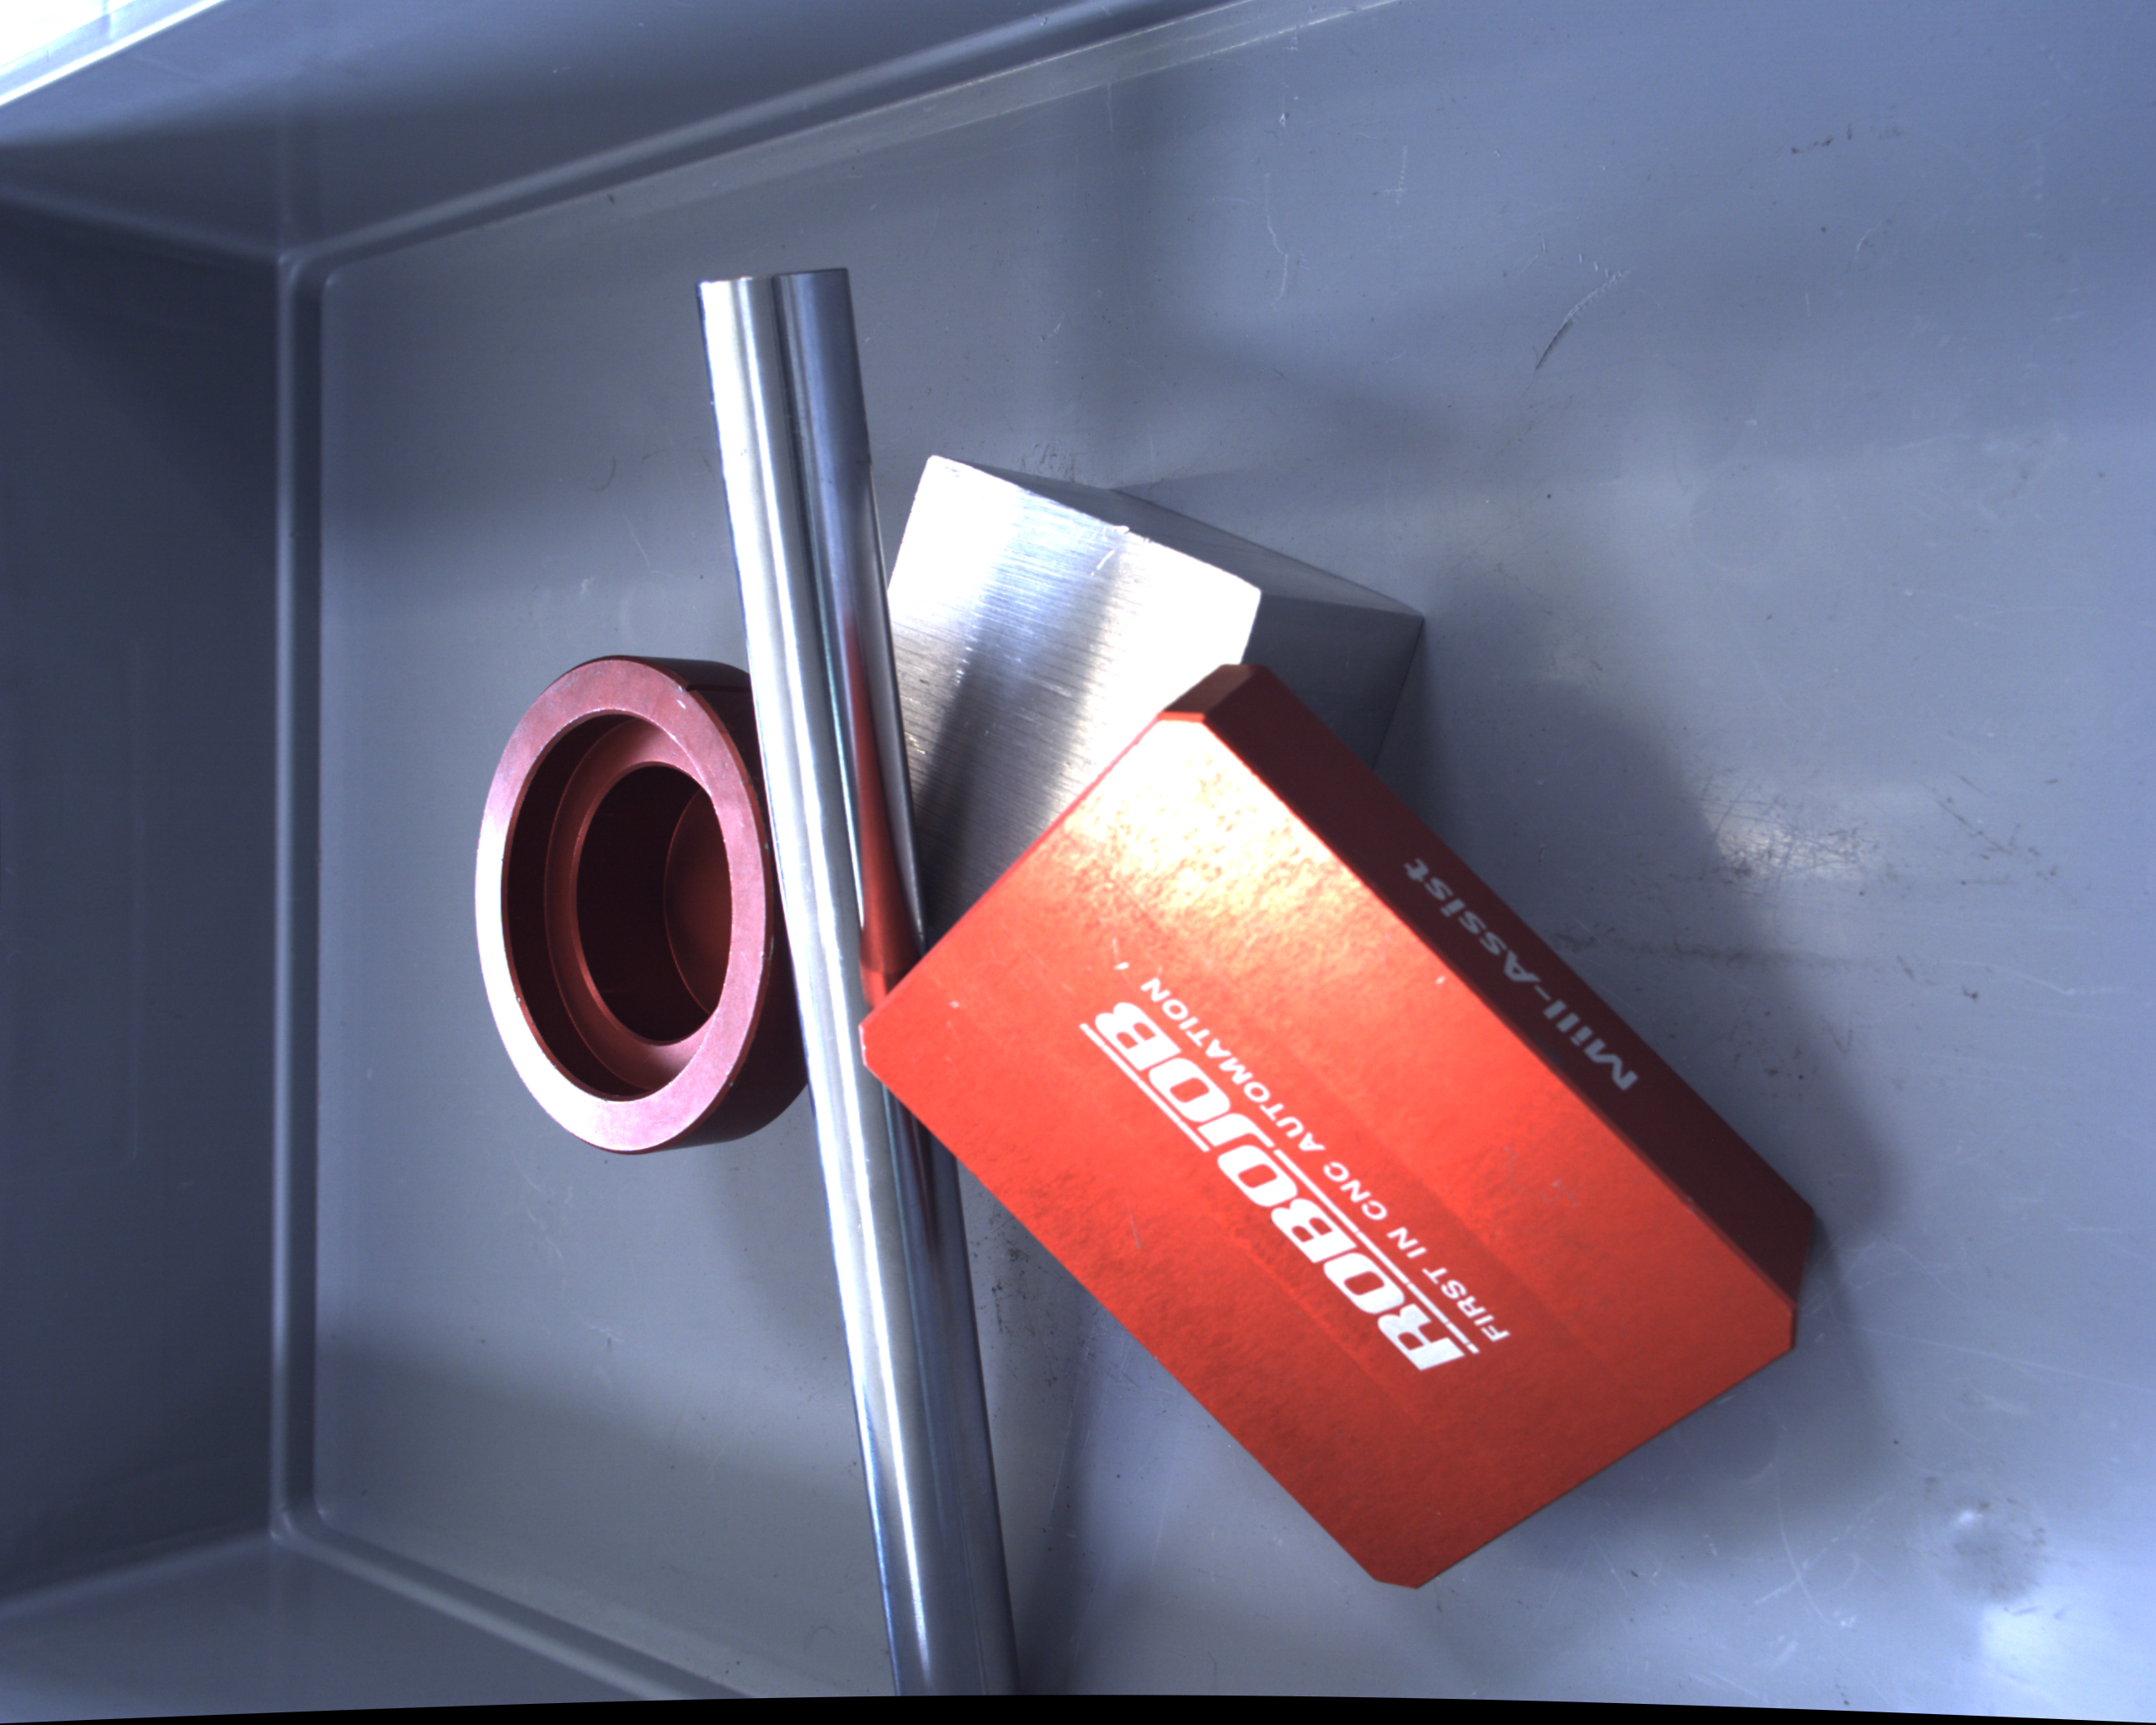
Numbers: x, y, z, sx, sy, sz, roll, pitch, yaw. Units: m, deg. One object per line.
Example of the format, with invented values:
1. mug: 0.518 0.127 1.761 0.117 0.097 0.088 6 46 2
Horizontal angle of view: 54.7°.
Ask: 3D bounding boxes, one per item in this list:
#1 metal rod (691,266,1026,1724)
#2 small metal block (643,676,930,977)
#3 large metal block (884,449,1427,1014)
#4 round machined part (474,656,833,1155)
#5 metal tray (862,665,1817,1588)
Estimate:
1. metal rod: -0.036 0.046 0.382 0.025 0.025 0.298 8 111 39
2. small metal block: -0.065 -0.007 0.459 0.050 0.025 0.050 -28 73 36
3. large metal block: 0.005 -0.023 0.384 0.080 0.050 0.079 29 108 36
4. round machined part: -0.077 0.008 0.422 0.098 0.042 0.097 1 91 43
5. metal tray: 0.040 0.044 0.336 0.130 0.030 0.090 45 121 2
